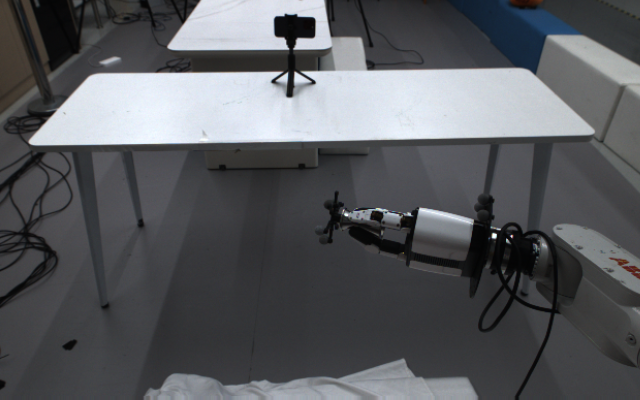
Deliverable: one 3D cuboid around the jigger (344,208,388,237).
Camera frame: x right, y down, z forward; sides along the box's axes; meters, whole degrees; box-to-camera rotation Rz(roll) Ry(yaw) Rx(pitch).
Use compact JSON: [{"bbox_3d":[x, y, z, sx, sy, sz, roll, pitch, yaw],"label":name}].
[{"bbox_3d":[0.076,0.033,0.787,0.071,0.043,0.043,10,35,15],"label":"jigger"}]
